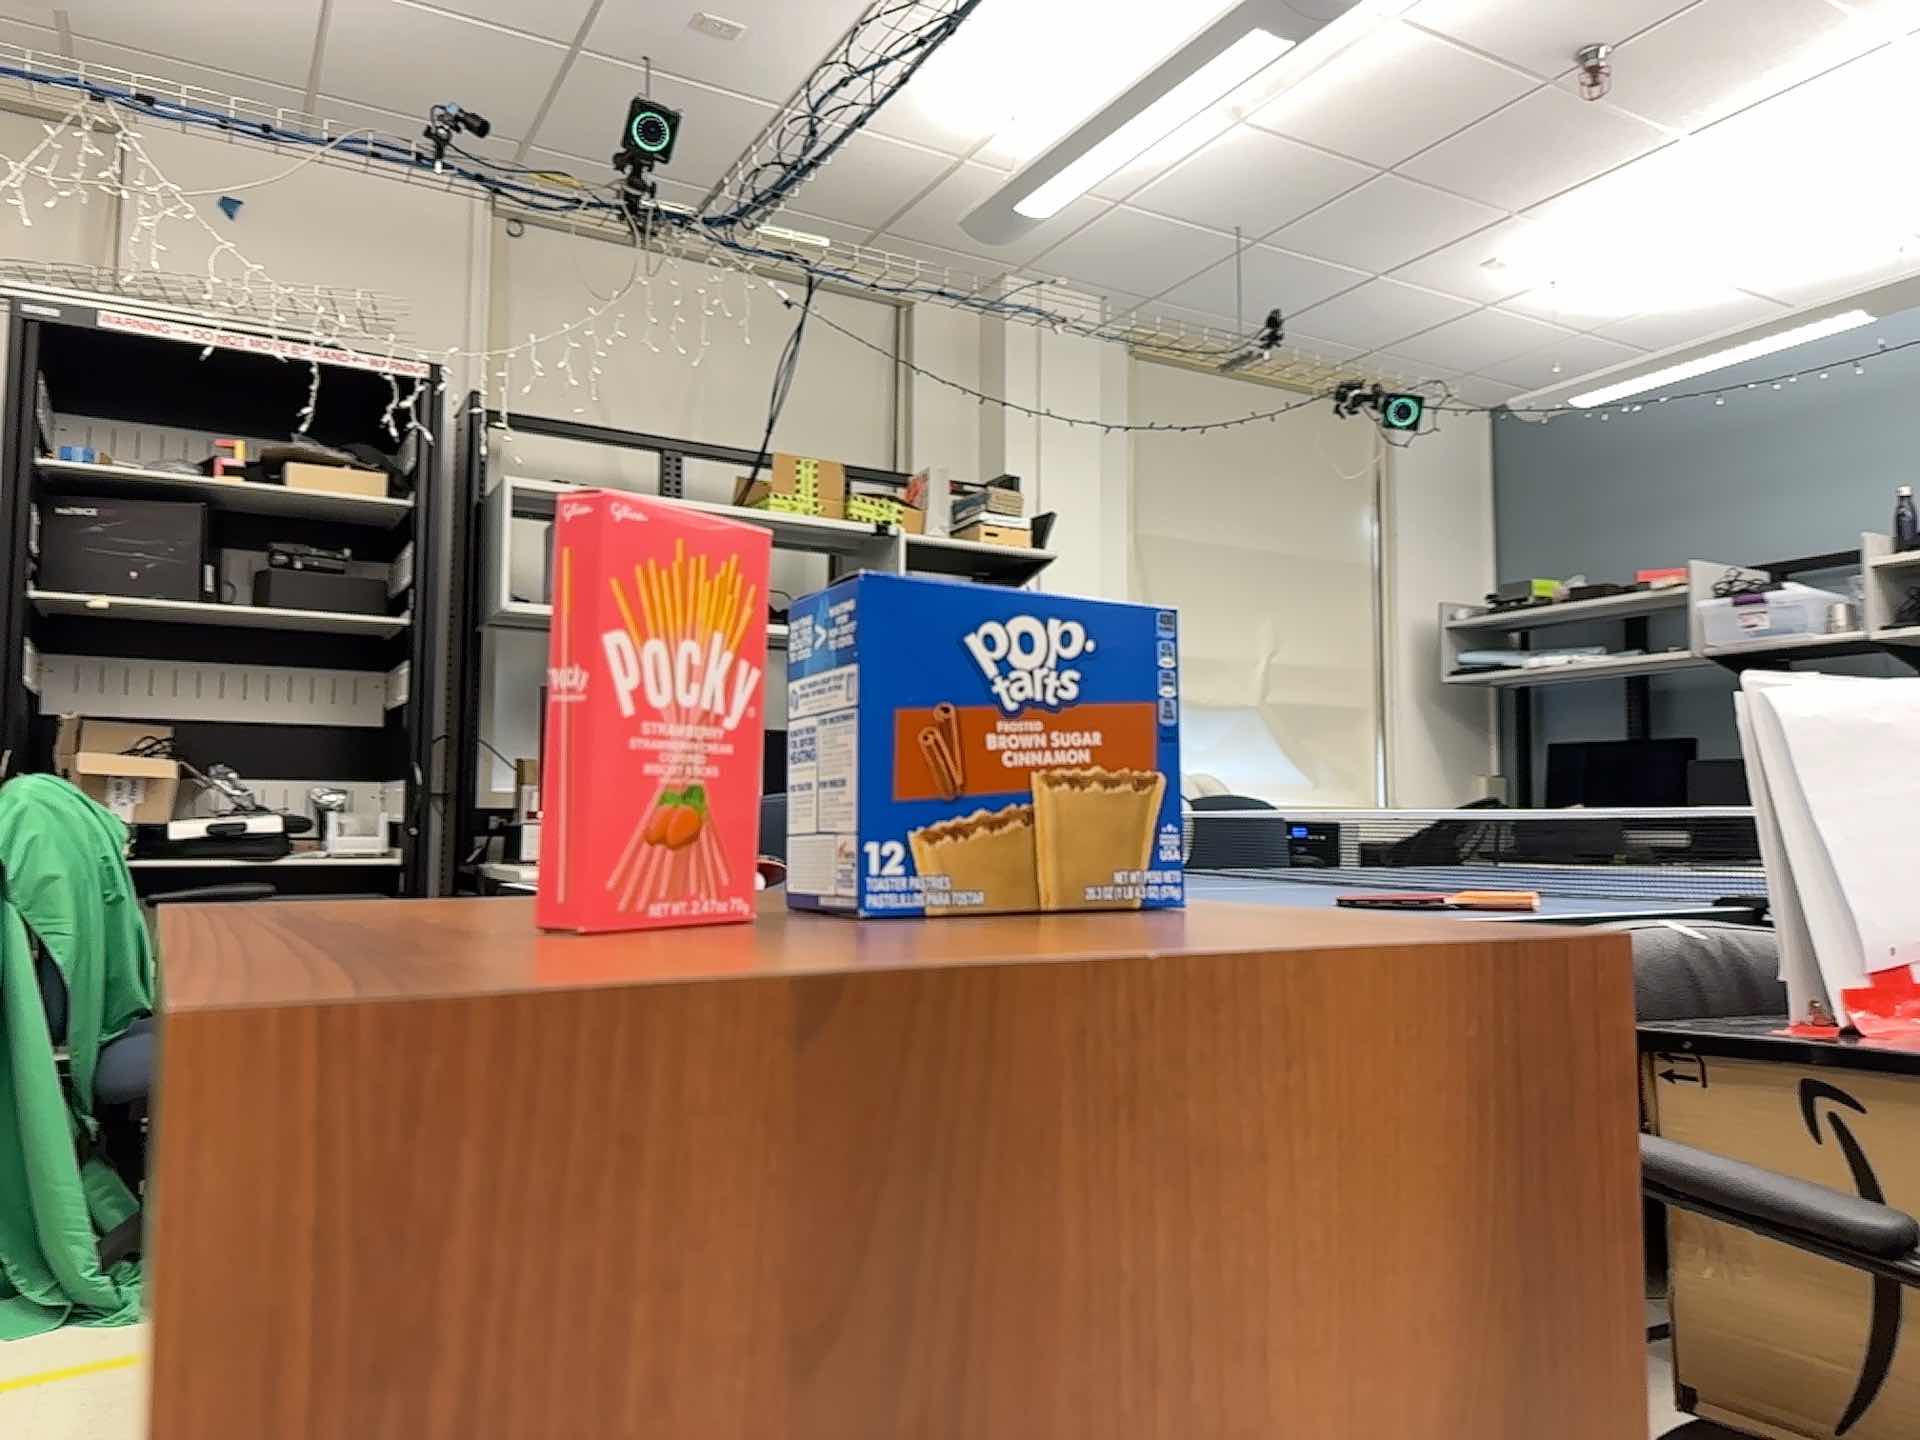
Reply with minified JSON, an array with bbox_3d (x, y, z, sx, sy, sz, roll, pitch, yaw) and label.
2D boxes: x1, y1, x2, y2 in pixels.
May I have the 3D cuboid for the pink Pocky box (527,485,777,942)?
[{"bbox_3d":[-0.108,0.000,0.487,0.029,0.155,0.084,-1,-5,39],"label":"pink Pocky box"}]

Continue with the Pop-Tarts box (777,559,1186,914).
[{"bbox_3d":[0.012,0.014,0.600,0.161,0.135,0.075,6,-8,-30],"label":"Pop-Tarts box"}]
